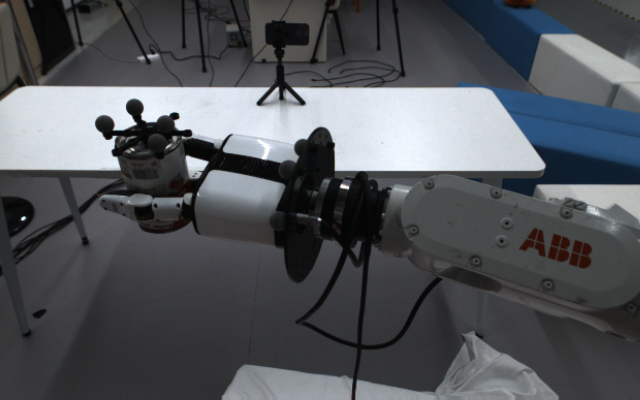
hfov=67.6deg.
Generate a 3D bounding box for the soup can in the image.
[{"bbox_3d":[-0.173,-0.022,0.523,0.067,0.101,0.067,1,39,-1],"label":"soup can"}]
